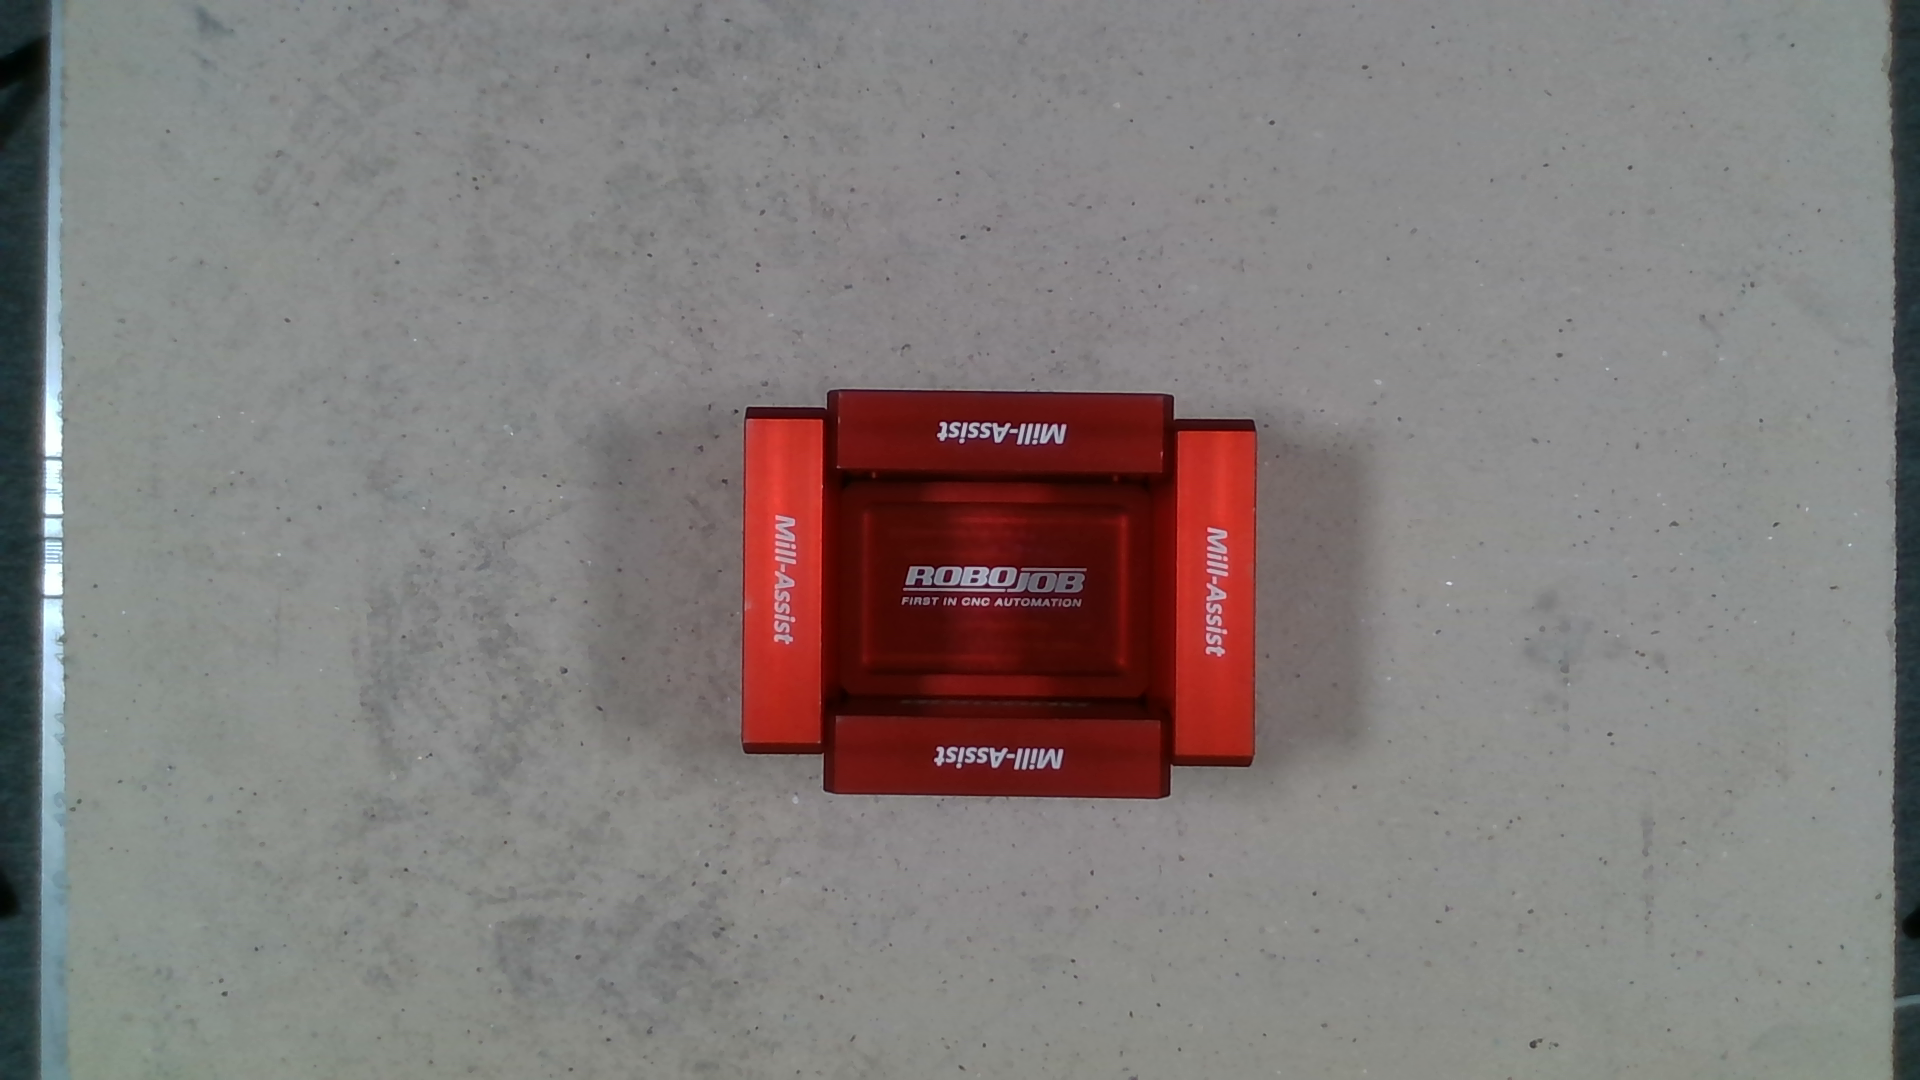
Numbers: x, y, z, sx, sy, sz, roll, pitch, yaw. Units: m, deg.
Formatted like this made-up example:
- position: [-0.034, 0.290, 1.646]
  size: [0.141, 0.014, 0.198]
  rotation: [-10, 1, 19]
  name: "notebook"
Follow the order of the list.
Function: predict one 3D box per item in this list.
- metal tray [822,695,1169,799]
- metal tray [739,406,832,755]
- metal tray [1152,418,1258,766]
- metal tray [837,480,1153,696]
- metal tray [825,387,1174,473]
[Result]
- position: [0.013, 0.080, 0.555]
  size: [0.130, 0.090, 0.030]
  rotation: [1, 90, 0]
  name: "metal tray"
- position: [-0.066, 0.015, 0.554]
  size: [0.030, 0.090, 0.130]
  rotation: [1, 90, 0]
  name: "metal tray"
- position: [0.095, 0.019, 0.554]
  size: [0.030, 0.090, 0.130]
  rotation: [1, 90, 0]
  name: "metal tray"
- position: [0.015, 0.019, 0.585]
  size: [0.130, 0.030, 0.090]
  rotation: [1, 90, 0]
  name: "metal tray"
- position: [0.015, -0.041, 0.554]
  size: [0.130, 0.090, 0.030]
  rotation: [1, 90, 0]
  name: "metal tray"
